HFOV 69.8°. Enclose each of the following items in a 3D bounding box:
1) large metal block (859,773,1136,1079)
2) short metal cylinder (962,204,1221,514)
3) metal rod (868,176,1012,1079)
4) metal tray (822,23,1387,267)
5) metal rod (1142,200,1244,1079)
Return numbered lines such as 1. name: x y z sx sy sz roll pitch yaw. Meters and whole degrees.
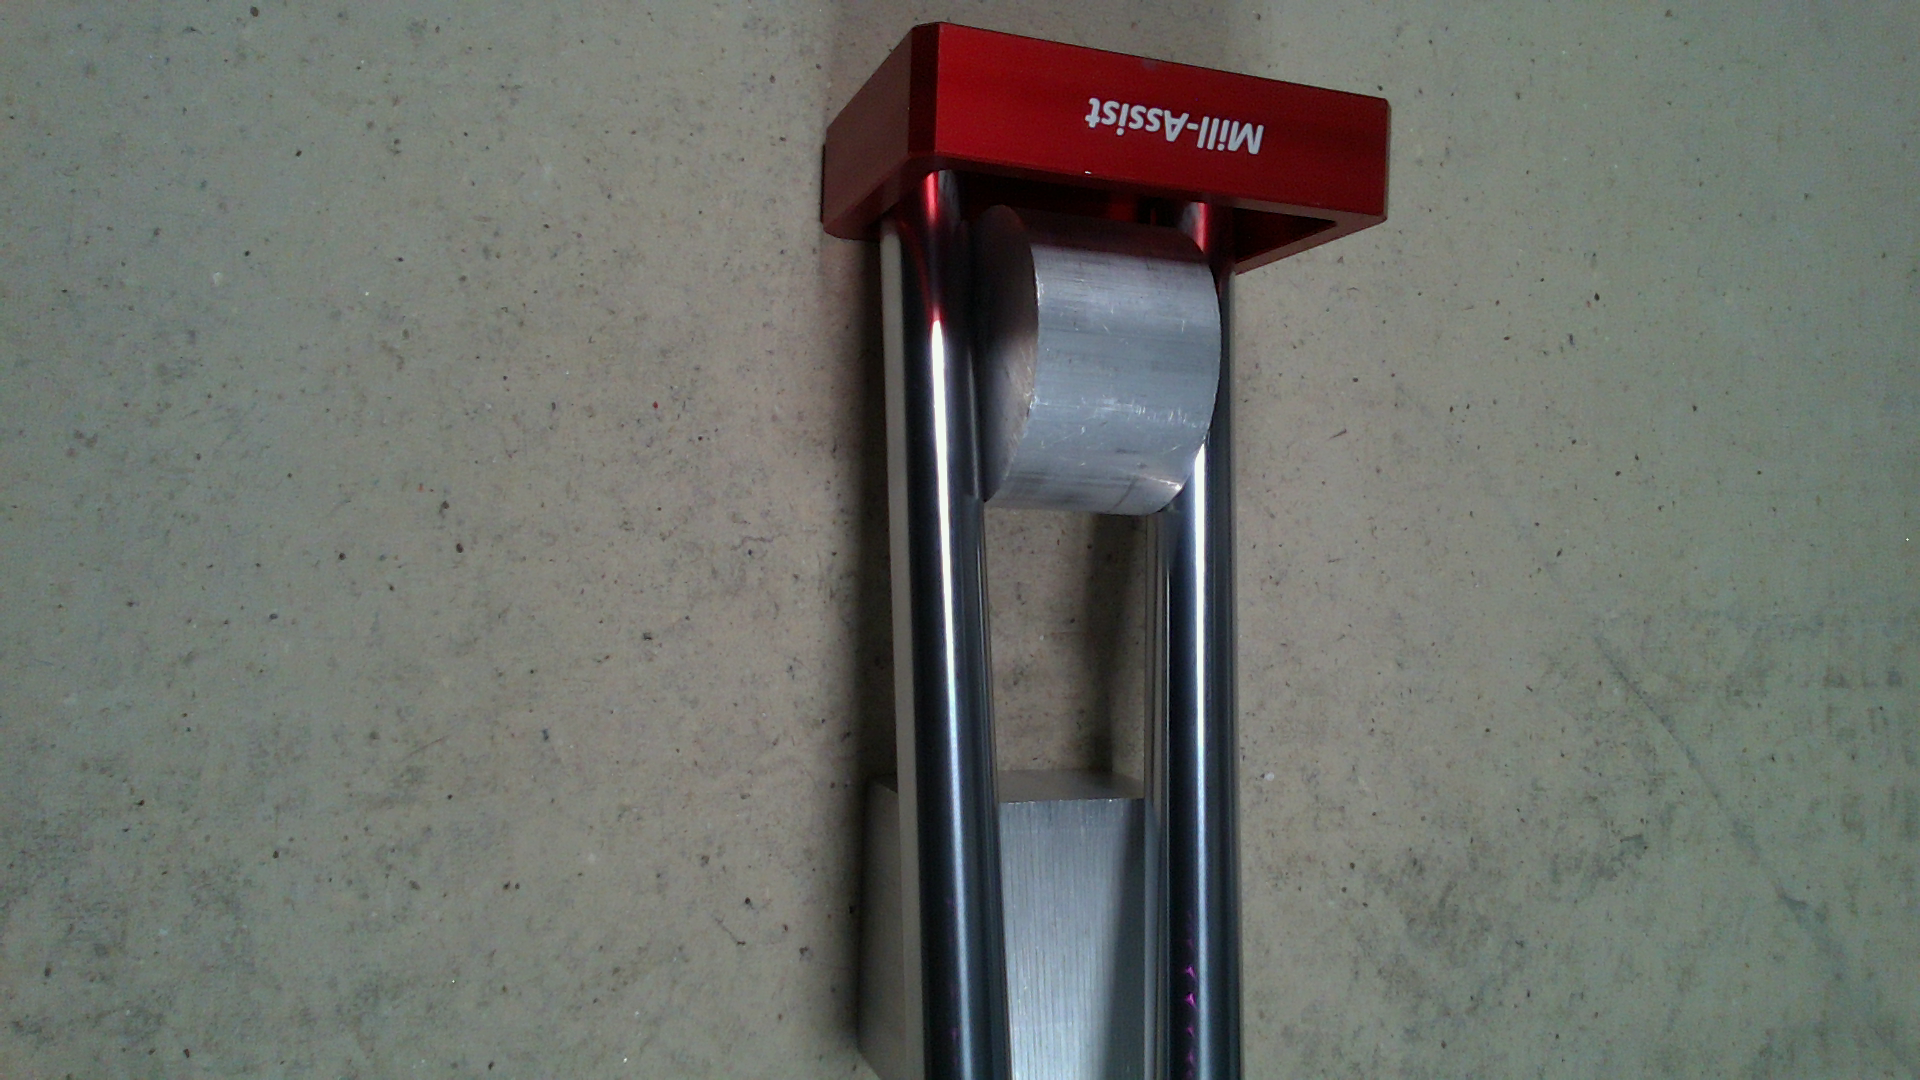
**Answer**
1. large metal block: 0.018 0.109 0.385 0.080 0.050 0.080 2 89 -20
2. short metal cylinder: 0.028 -0.048 0.375 0.050 0.080 0.080 2 89 -20
3. metal rod: -0.005 0.045 0.343 0.025 0.025 0.300 2 74 -20
4. metal tray: 0.036 -0.100 0.372 0.130 0.090 0.030 2 89 -20
5. metal rod: 0.062 0.049 0.367 0.025 0.025 0.300 9 72 -20
